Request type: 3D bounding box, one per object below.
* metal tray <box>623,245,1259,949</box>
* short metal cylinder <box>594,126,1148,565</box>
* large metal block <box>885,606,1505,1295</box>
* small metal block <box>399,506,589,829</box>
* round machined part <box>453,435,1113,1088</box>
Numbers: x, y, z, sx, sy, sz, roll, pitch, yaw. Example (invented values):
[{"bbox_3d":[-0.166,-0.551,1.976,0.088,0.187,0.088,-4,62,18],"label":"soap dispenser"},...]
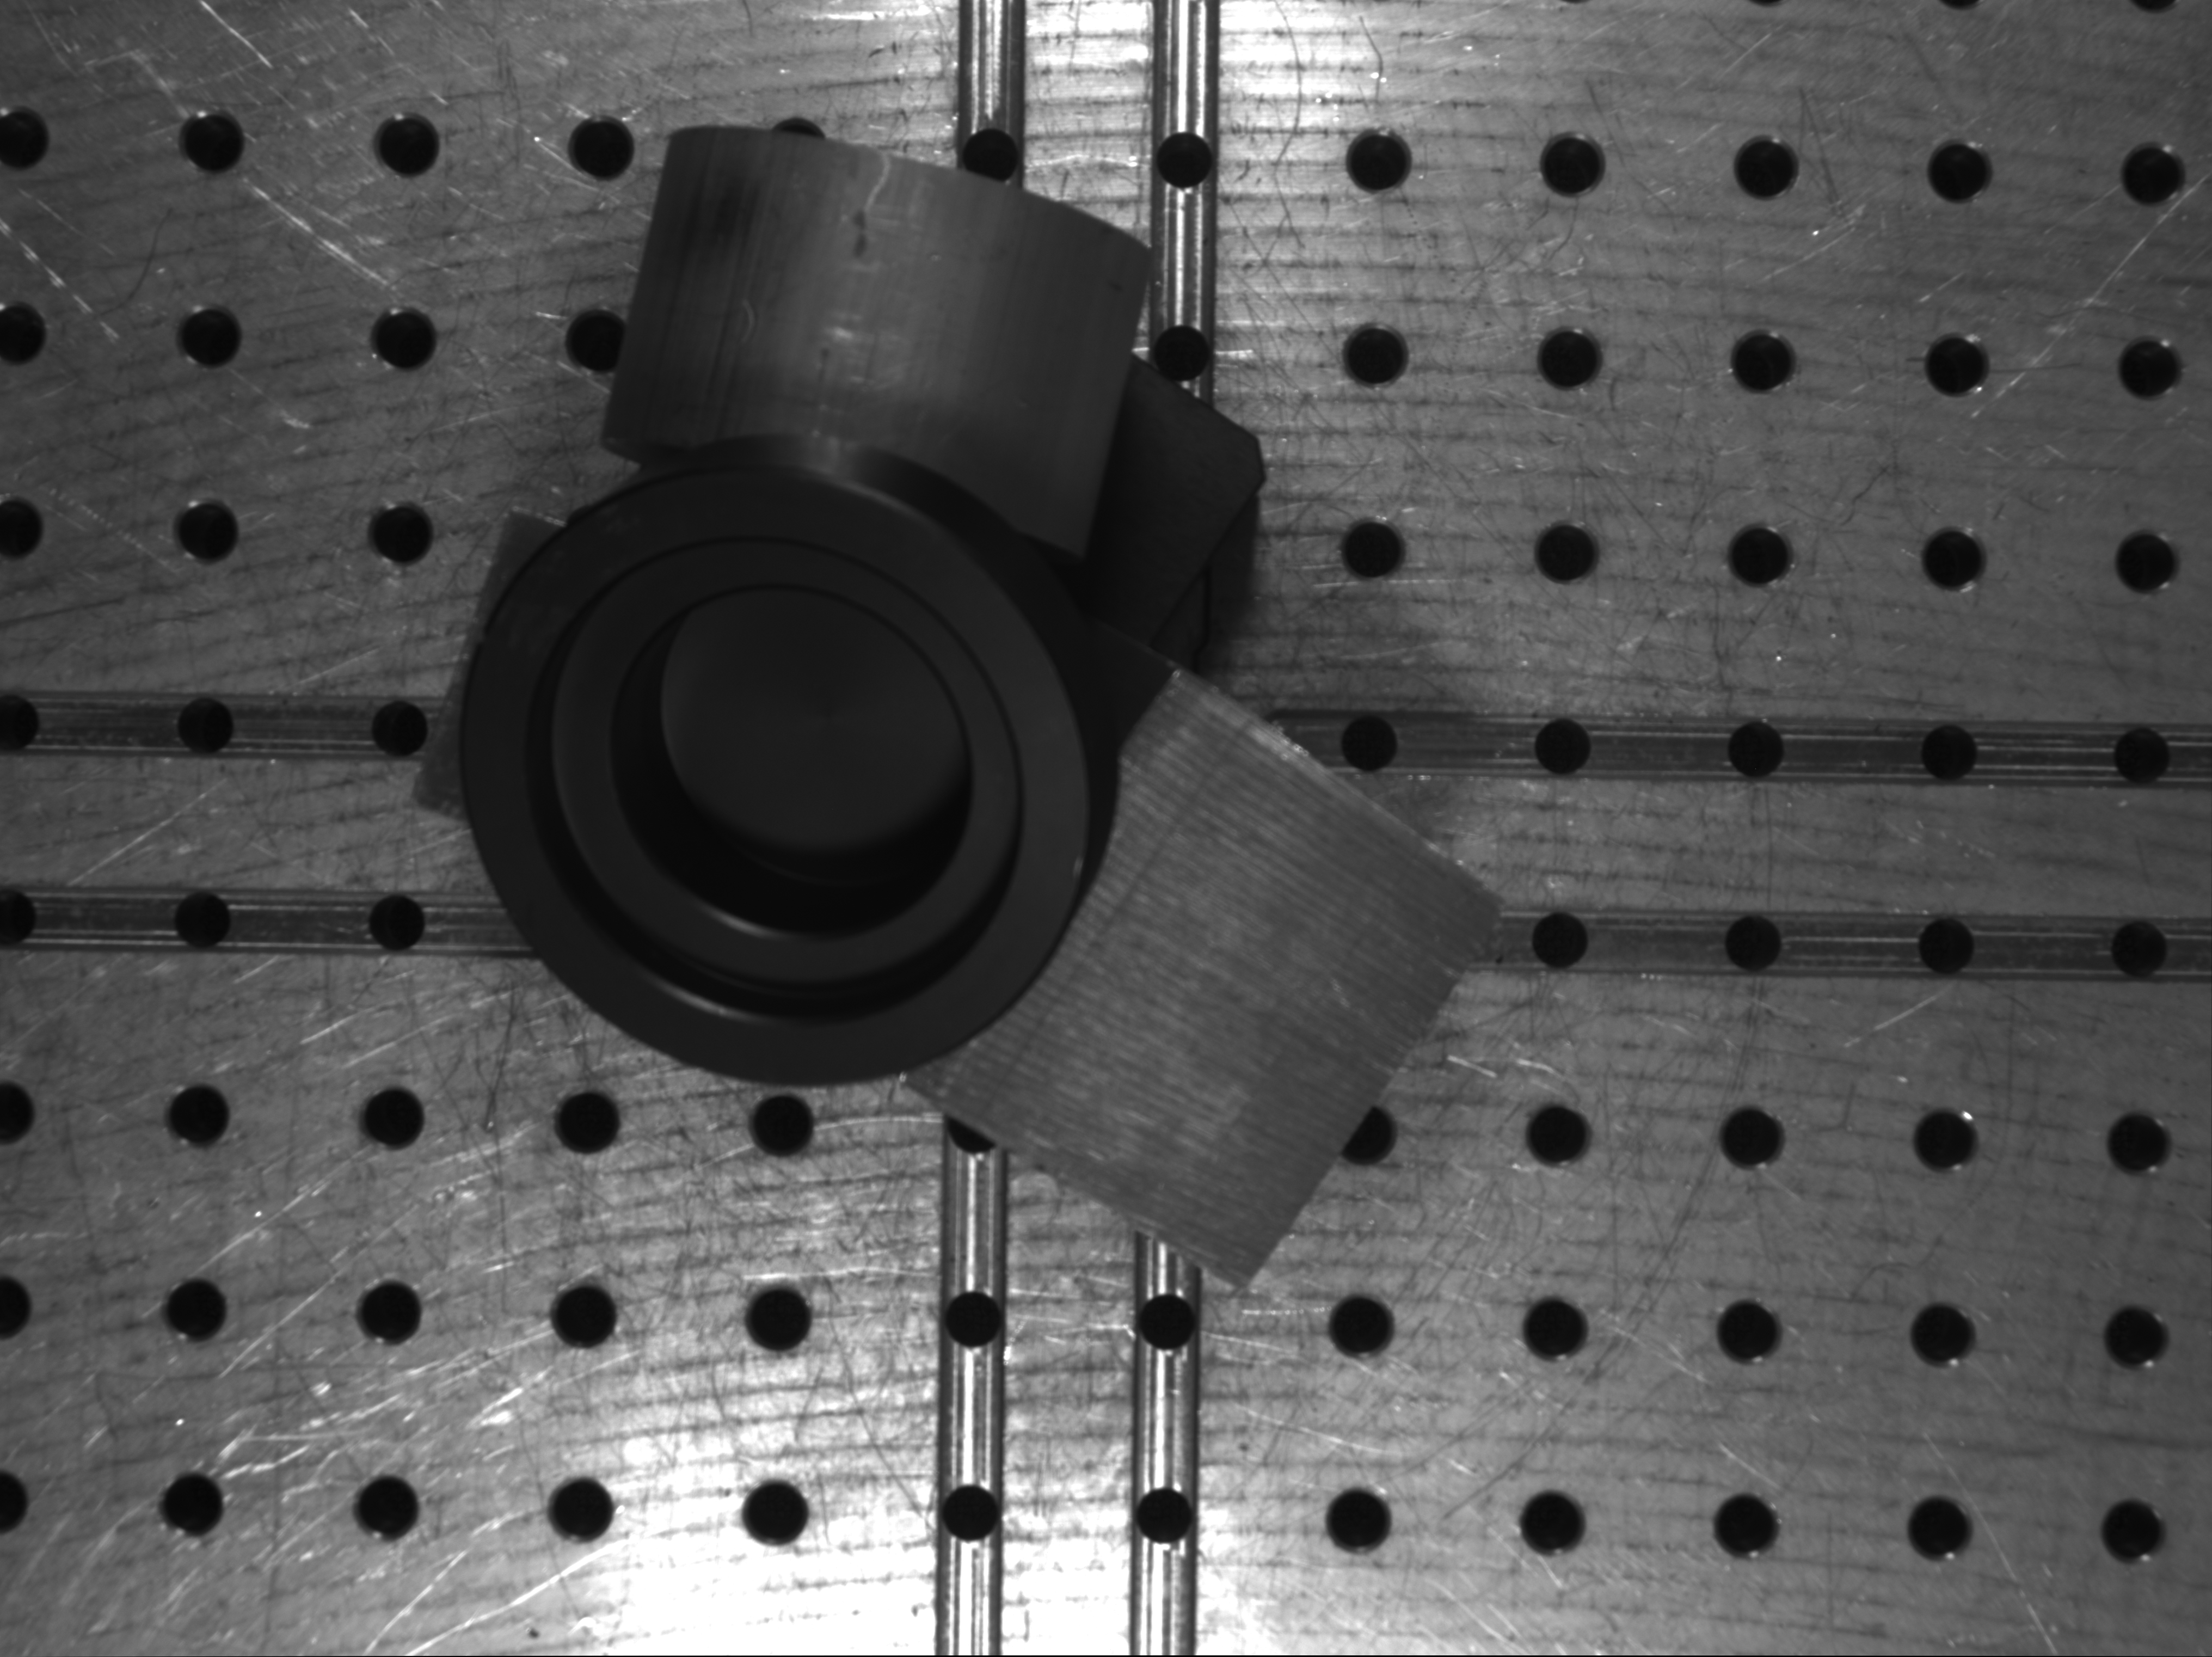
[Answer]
[{"bbox_3d":[-0.045,-0.036,0.645,0.090,0.030,0.130,34,90,0],"label":"metal tray"},{"bbox_3d":[-0.038,-0.077,0.589,0.080,0.080,0.050,13,90,0],"label":"short metal cylinder"},{"bbox_3d":[0.006,0.019,0.617,0.080,0.050,0.080,34,90,-31],"label":"large metal block"},{"bbox_3d":[-0.092,-0.023,0.603,0.025,0.050,0.050,19,90,0],"label":"small metal block"},{"bbox_3d":[-0.047,-0.013,0.564,0.098,0.042,0.098,4,110,10],"label":"round machined part"}]
